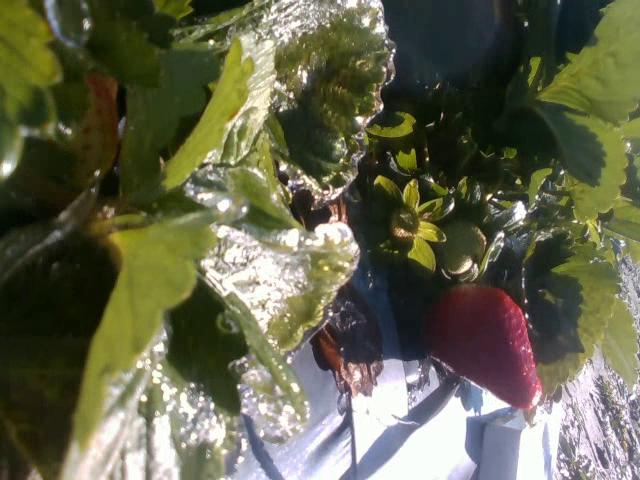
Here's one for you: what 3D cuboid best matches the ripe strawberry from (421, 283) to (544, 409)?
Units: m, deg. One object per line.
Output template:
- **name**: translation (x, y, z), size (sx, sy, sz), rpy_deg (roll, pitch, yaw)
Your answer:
- **ripe strawberry**: translation (0.084, 0.059, 0.287), size (0.057, 0.062, 0.065), rpy_deg (-25, 44, -5)
